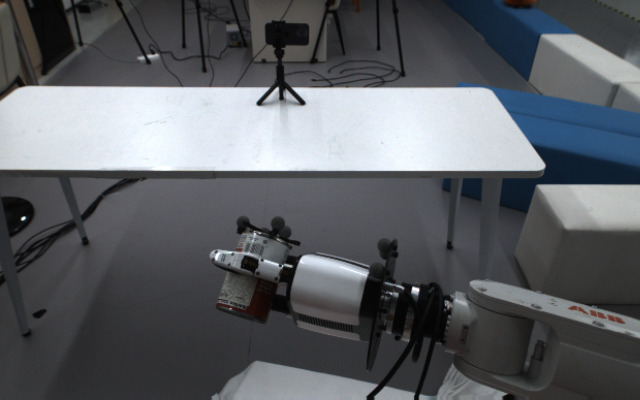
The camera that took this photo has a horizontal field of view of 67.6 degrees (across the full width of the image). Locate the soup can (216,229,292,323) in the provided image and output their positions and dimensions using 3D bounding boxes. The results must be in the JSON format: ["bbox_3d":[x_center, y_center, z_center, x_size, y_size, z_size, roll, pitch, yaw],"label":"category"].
[{"bbox_3d":[-0.082,0.097,0.608,0.067,0.067,0.101,12,70,14],"label":"soup can"}]
